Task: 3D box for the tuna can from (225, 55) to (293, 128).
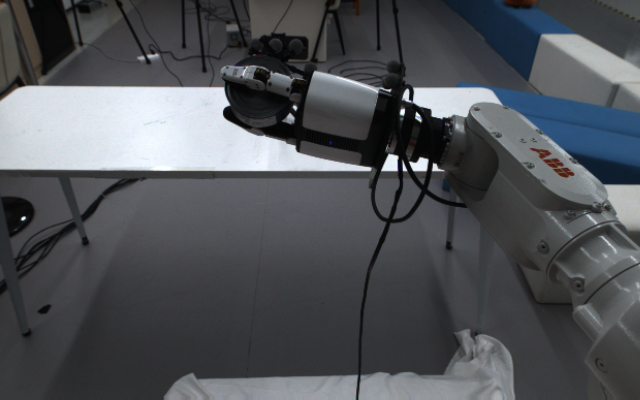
[{"bbox_3d":[-0.074,-0.137,0.609,0.085,0.034,0.085,0,72,0],"label":"tuna can"}]
